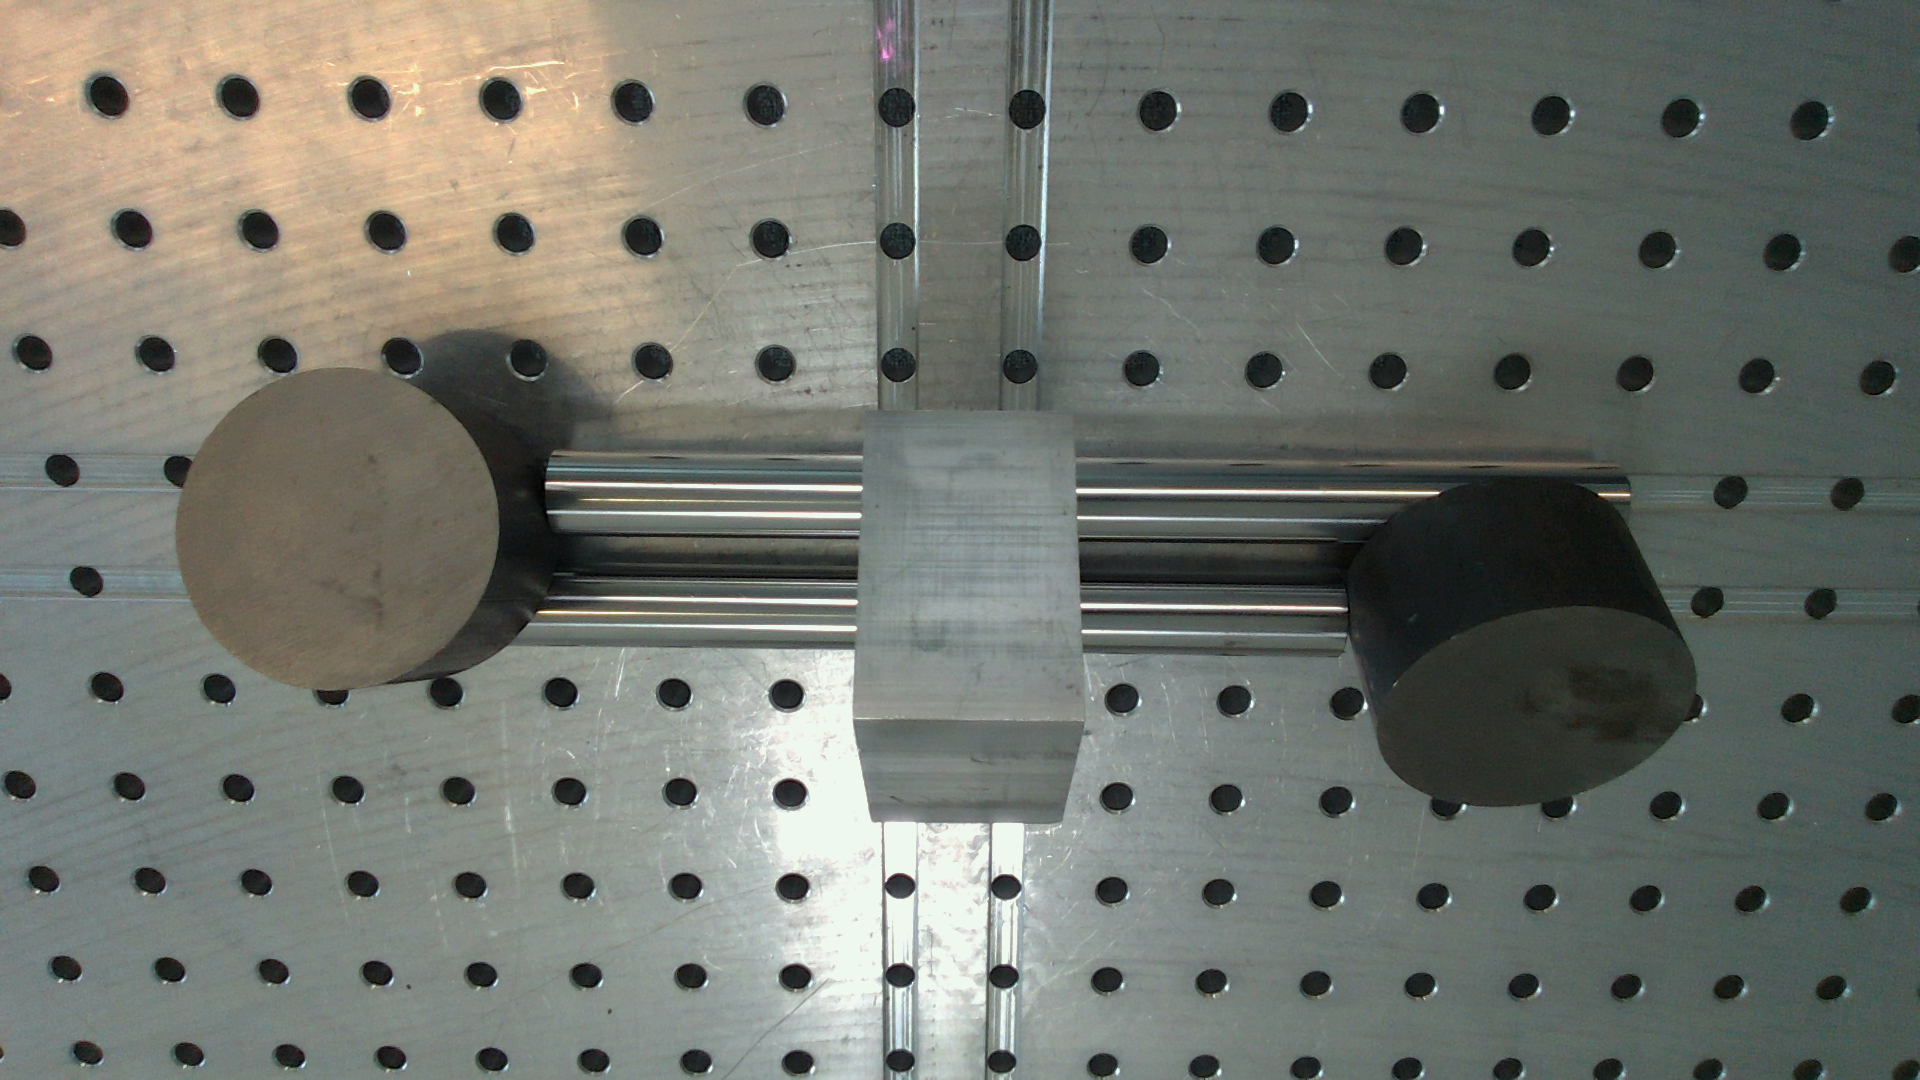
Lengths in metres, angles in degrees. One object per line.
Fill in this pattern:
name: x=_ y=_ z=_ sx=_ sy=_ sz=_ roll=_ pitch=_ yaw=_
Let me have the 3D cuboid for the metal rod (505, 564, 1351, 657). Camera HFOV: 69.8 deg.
metal rod: x=-0.039 y=0.020 z=0.403 sx=0.300 sy=0.025 sz=0.025 roll=1 pitch=110 yaw=-1

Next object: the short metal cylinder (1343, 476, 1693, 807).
short metal cylinder: x=0.151 y=0.029 z=0.380 sx=0.080 sy=0.050 sz=0.080 roll=0 pitch=132 yaw=0

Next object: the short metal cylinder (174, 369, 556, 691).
short metal cylinder: x=-0.155 y=-0.001 z=0.366 sx=0.080 sy=0.050 sz=0.080 roll=0 pitch=87 yaw=0

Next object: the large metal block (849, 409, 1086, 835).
large metal block: x=0.002 y=0.023 z=0.344 sx=0.050 sy=0.080 sz=0.080 roll=1 pitch=152 yaw=0

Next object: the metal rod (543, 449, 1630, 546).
metal rod: x=0.035 y=-0.012 z=0.391 sx=0.300 sy=0.025 sz=0.025 roll=1 pitch=110 yaw=-1
